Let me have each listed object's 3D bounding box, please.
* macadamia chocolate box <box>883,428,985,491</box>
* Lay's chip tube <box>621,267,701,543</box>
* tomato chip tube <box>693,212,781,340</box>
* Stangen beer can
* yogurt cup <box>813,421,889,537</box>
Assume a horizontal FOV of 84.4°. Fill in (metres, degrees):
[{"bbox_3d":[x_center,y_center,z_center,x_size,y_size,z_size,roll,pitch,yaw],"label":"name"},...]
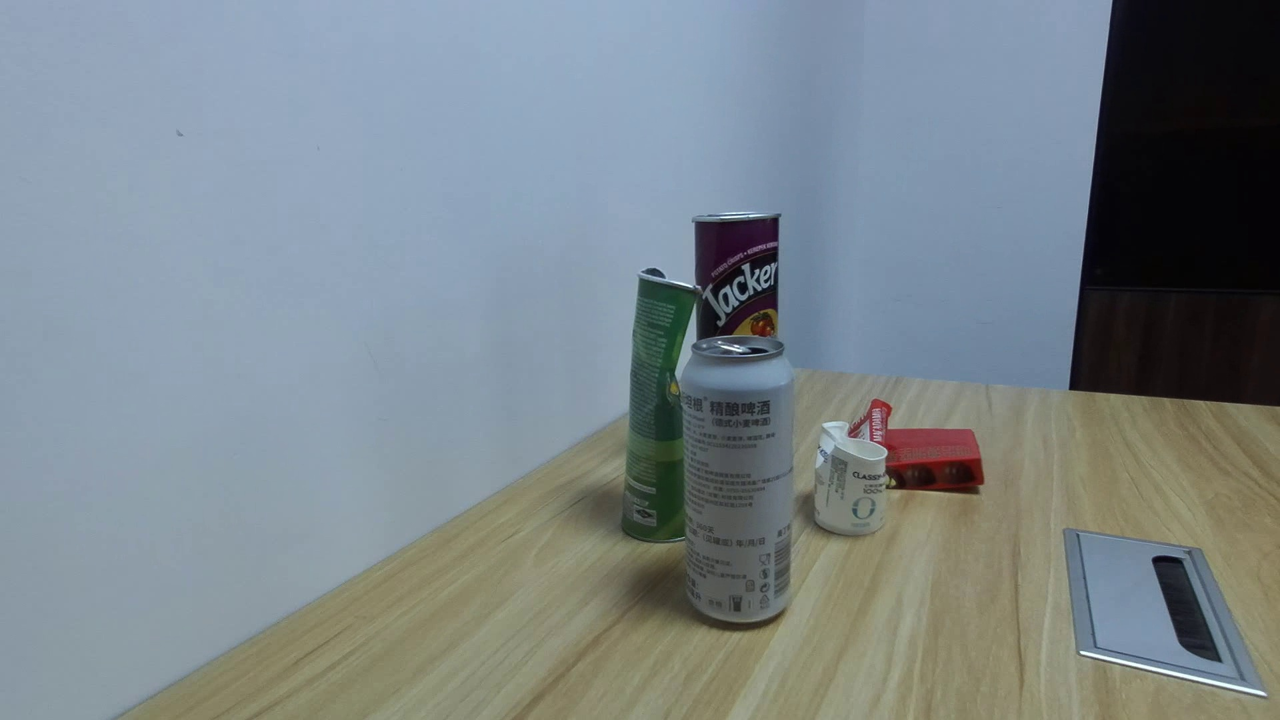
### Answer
[{"bbox_3d":[0.244,0.087,0.647,0.126,0.056,0.112,6,31,19],"label":"macadamia chocolate box"},{"bbox_3d":[0.017,0.034,0.540,0.069,0.201,0.077,-15,22,-43],"label":"Lay's chip tube"},{"bbox_3d":[0.091,-0.013,0.646,0.080,0.234,0.076,-3,11,-6],"label":"tomato chip tube"},{"bbox_3d":[0.060,0.073,0.433,0.067,0.171,0.067,-2,14,1],"label":"Stangen beer can"},{"bbox_3d":[0.163,0.092,0.545,0.054,0.071,0.075,-10,16,-32],"label":"yogurt cup"}]
